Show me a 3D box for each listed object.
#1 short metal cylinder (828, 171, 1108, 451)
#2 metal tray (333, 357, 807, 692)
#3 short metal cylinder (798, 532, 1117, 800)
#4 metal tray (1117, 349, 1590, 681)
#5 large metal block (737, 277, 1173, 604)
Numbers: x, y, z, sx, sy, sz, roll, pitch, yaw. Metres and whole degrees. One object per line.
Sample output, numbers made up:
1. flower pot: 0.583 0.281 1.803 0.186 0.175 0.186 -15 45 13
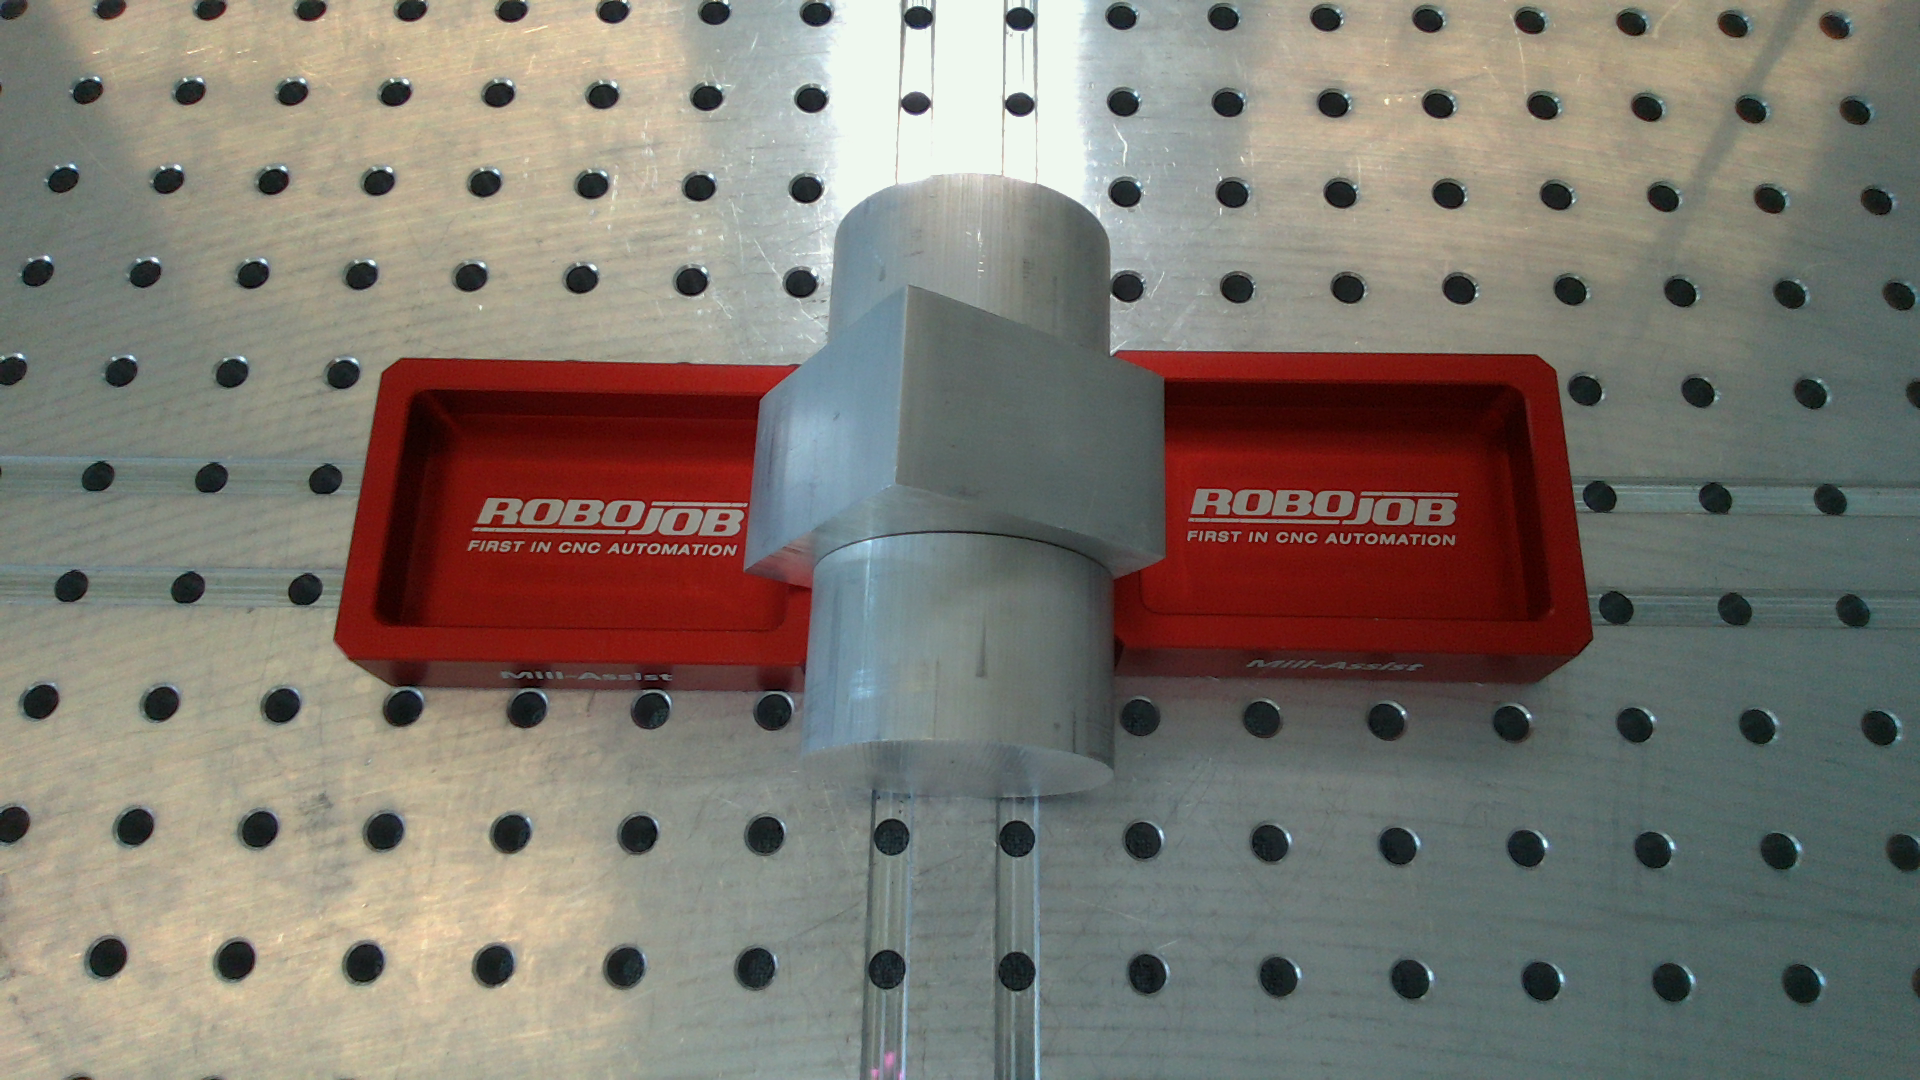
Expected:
1. short metal cylinder: 0.003 -0.060 0.389 0.080 0.080 0.050 1 70 0
2. metal tray: -0.102 -0.005 0.395 0.130 0.030 0.090 1 70 0
3. short metal cylinder: 0.000 0.035 0.354 0.080 0.080 0.050 2 70 1
4. metal tray: 0.105 -0.008 0.397 0.130 0.030 0.090 1 70 0
5. large metal block: -0.002 -0.017 0.358 0.080 0.080 0.050 15 66 -31
